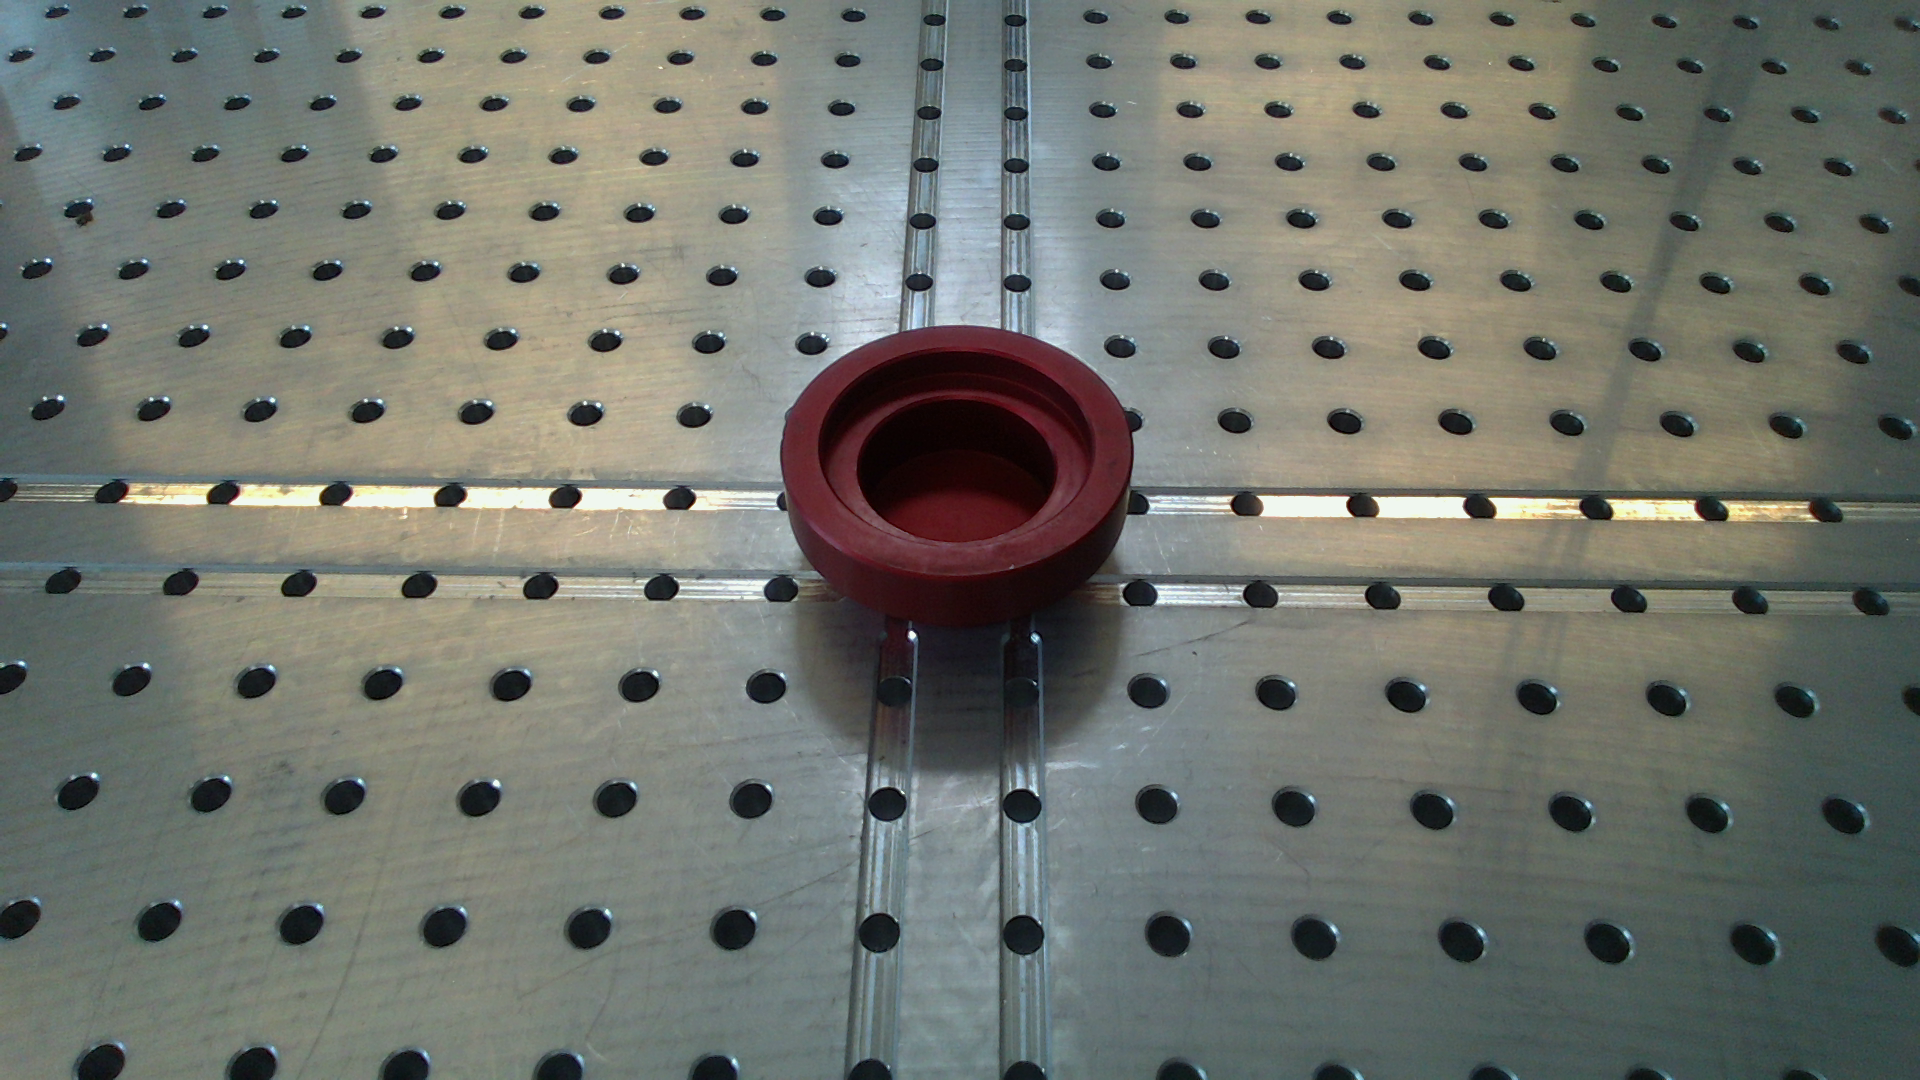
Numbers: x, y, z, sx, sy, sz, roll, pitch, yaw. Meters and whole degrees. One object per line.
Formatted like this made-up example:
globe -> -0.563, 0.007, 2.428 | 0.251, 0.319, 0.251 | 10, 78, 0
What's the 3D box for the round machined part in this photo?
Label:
round machined part -> -0.001, -0.015, 0.395 | 0.098, 0.042, 0.098 | 0, 50, 0
